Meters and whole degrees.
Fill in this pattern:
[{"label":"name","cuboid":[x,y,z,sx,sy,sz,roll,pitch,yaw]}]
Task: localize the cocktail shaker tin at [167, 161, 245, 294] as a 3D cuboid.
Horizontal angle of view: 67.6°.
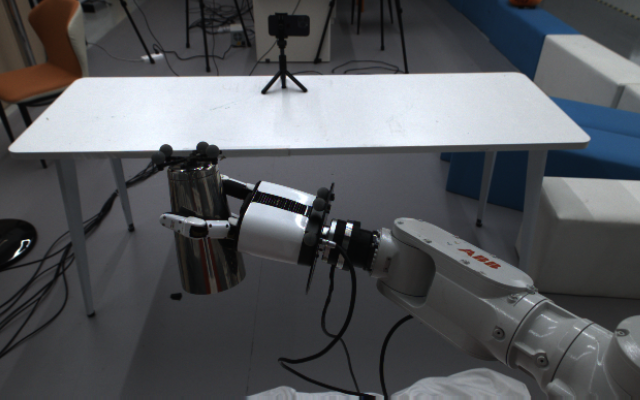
[{"label":"cocktail shaker tin","cuboid":[-0.161,0.034,0.667,0.093,0.170,0.093,-6,19,2]}]
